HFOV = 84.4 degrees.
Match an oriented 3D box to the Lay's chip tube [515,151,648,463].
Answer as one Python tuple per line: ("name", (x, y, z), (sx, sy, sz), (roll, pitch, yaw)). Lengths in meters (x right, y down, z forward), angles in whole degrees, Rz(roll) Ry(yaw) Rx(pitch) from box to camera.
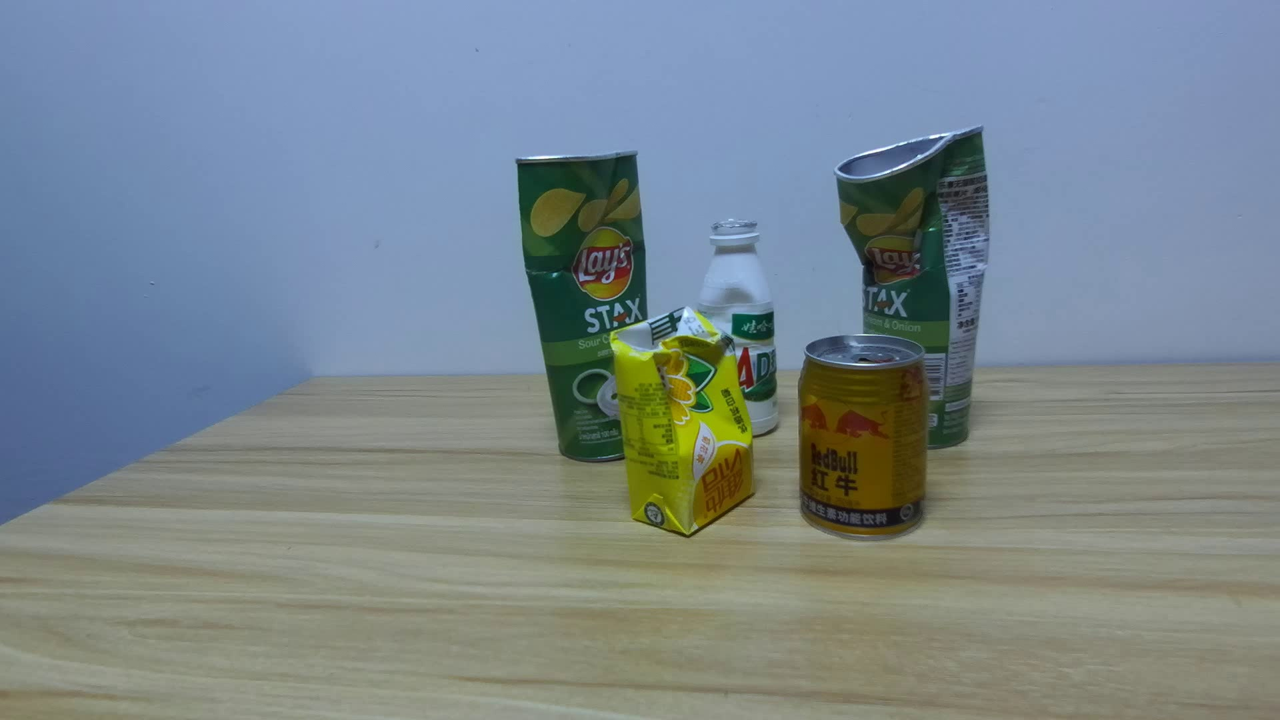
("Lay's chip tube", (-0.031, -0.036, 0.482), (0.069, 0.199, 0.075), (-2, 15, 10))

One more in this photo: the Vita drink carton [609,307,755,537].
("Vita drink carton", (0.027, 0.032, 0.388), (0.046, 0.109, 0.071), (7, 20, 43))

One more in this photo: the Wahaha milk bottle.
("Wahaha milk bottle", (0.069, -0.022, 0.493), (0.055, 0.149, 0.055), (-4, 14, 1))

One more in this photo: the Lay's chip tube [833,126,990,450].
("Lay's chip tube", (0.175, -0.041, 0.457), (0.078, 0.199, 0.071), (9, 28, 44))

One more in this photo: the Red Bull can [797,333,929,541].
("Red Bull can", (0.117, 0.038, 0.373), (0.067, 0.093, 0.067), (-2, 16, 1))
